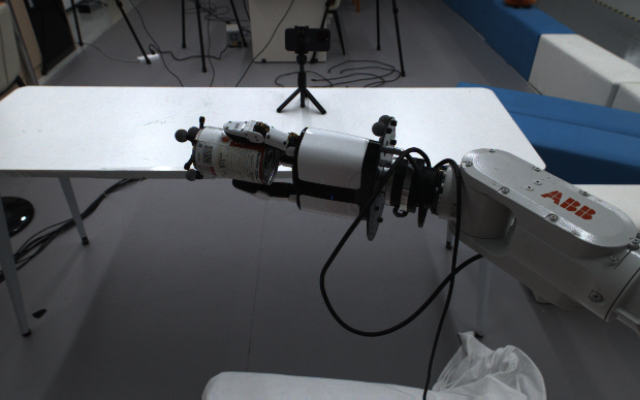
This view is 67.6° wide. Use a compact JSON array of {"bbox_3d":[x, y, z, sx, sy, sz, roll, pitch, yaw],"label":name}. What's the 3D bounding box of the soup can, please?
[{"bbox_3d":[-0.112,-0.060,0.661,0.101,0.067,0.067,10,36,10],"label":"soup can"}]
